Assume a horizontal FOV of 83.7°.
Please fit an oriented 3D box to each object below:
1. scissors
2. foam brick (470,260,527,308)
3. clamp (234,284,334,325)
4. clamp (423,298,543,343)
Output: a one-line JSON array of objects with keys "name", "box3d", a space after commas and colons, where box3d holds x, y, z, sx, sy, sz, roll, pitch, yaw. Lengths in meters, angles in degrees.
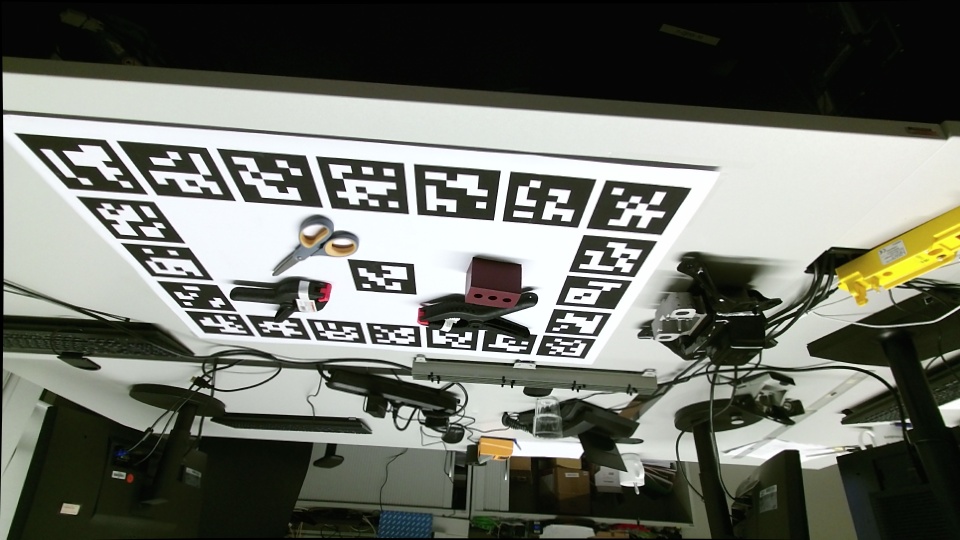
[{"name": "scissors", "box3d": [-0.252, -0.018, 0.807, 0.088, 0.016, 0.203, 35, 137, -28]}, {"name": "foam brick", "box3d": [0.028, 0.021, 0.823, 0.078, 0.051, 0.053, 5, 145, -11]}, {"name": "clamp", "box3d": [-0.324, 0.060, 0.925, 0.165, 0.036, 0.122, -13, 137, 21]}, {"name": "clamp", "box3d": [0.002, 0.091, 0.940, 0.203, 0.036, 0.165, 2, 150, 2]}]
